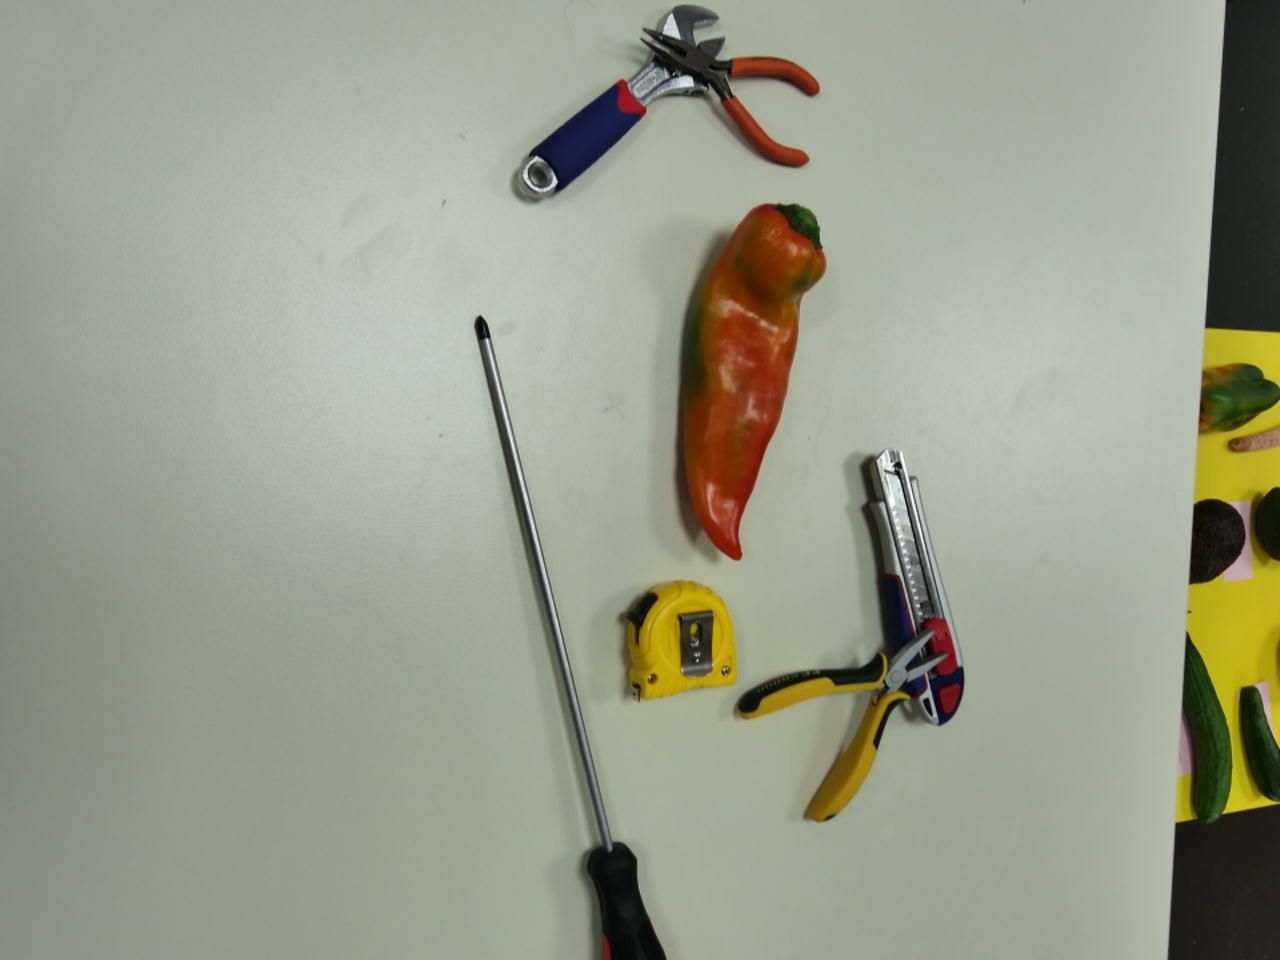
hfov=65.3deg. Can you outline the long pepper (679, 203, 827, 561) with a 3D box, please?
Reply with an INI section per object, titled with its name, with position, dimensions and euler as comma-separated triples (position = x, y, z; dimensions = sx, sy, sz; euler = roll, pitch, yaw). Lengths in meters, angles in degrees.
[long pepper]
position = 0.062, -0.056, 0.557
dimensions = 0.066, 0.065, 0.199
euler = 10, 87, -22
